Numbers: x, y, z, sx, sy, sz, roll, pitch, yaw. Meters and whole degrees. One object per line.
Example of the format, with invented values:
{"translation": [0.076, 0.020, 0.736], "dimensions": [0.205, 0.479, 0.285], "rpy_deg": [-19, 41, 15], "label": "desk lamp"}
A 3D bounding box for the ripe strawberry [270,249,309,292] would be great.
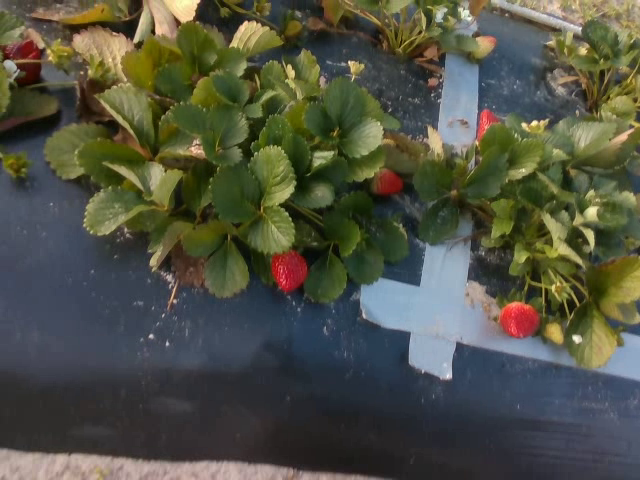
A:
{"translation": [-0.014, 0.015, 0.239], "dimensions": [0.018, 0.023, 0.021], "rpy_deg": [1, -39, 6], "label": "ripe strawberry"}

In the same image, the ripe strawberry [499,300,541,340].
{"translation": [0.099, 0.042, 0.263], "dimensions": [0.023, 0.021, 0.026], "rpy_deg": [16, 37, 16], "label": "ripe strawberry"}
